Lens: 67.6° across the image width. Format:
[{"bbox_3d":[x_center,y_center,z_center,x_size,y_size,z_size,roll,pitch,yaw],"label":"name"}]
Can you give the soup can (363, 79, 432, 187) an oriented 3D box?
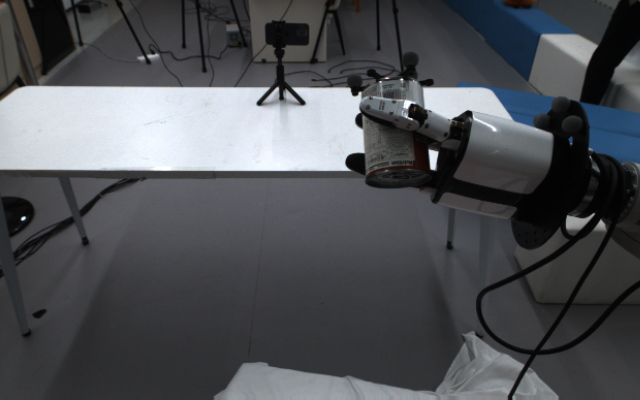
[{"bbox_3d":[0.079,-0.071,0.510,0.067,0.067,0.101,0,75,-3],"label":"soup can"}]
